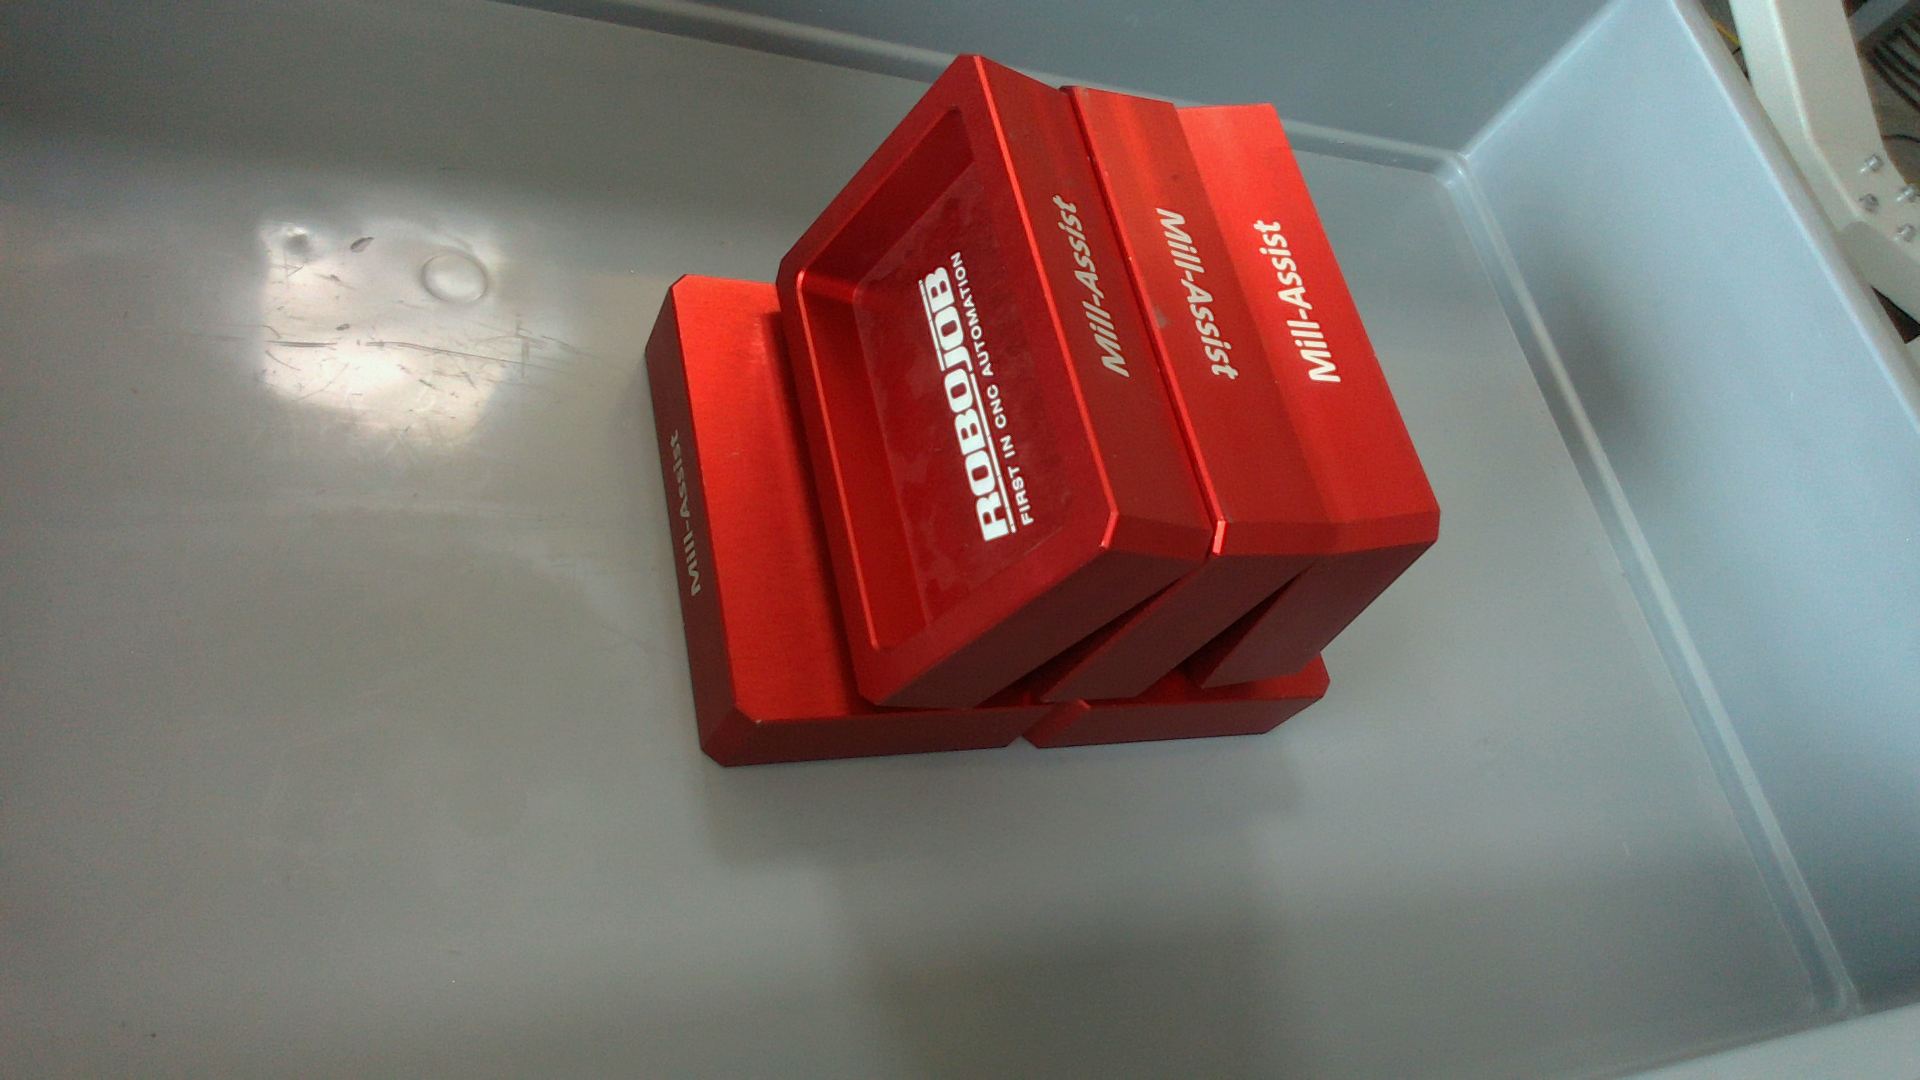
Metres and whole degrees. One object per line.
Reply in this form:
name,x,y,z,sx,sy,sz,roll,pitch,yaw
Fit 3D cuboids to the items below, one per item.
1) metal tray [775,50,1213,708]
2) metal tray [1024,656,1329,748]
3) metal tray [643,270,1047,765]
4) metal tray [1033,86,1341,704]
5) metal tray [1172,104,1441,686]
metal tray,0.001,-0.036,0.327,0.030,0.090,0.130,8,57,-39
metal tray,0.049,-0.006,0.415,0.090,0.030,0.130,1,61,-28
metal tray,-0.031,-0.008,0.372,0.090,0.030,0.130,1,61,-28
metal tray,0.036,-0.036,0.347,0.030,0.090,0.130,0,60,-28
metal tray,0.072,-0.038,0.366,0.030,0.090,0.130,-7,64,-15
